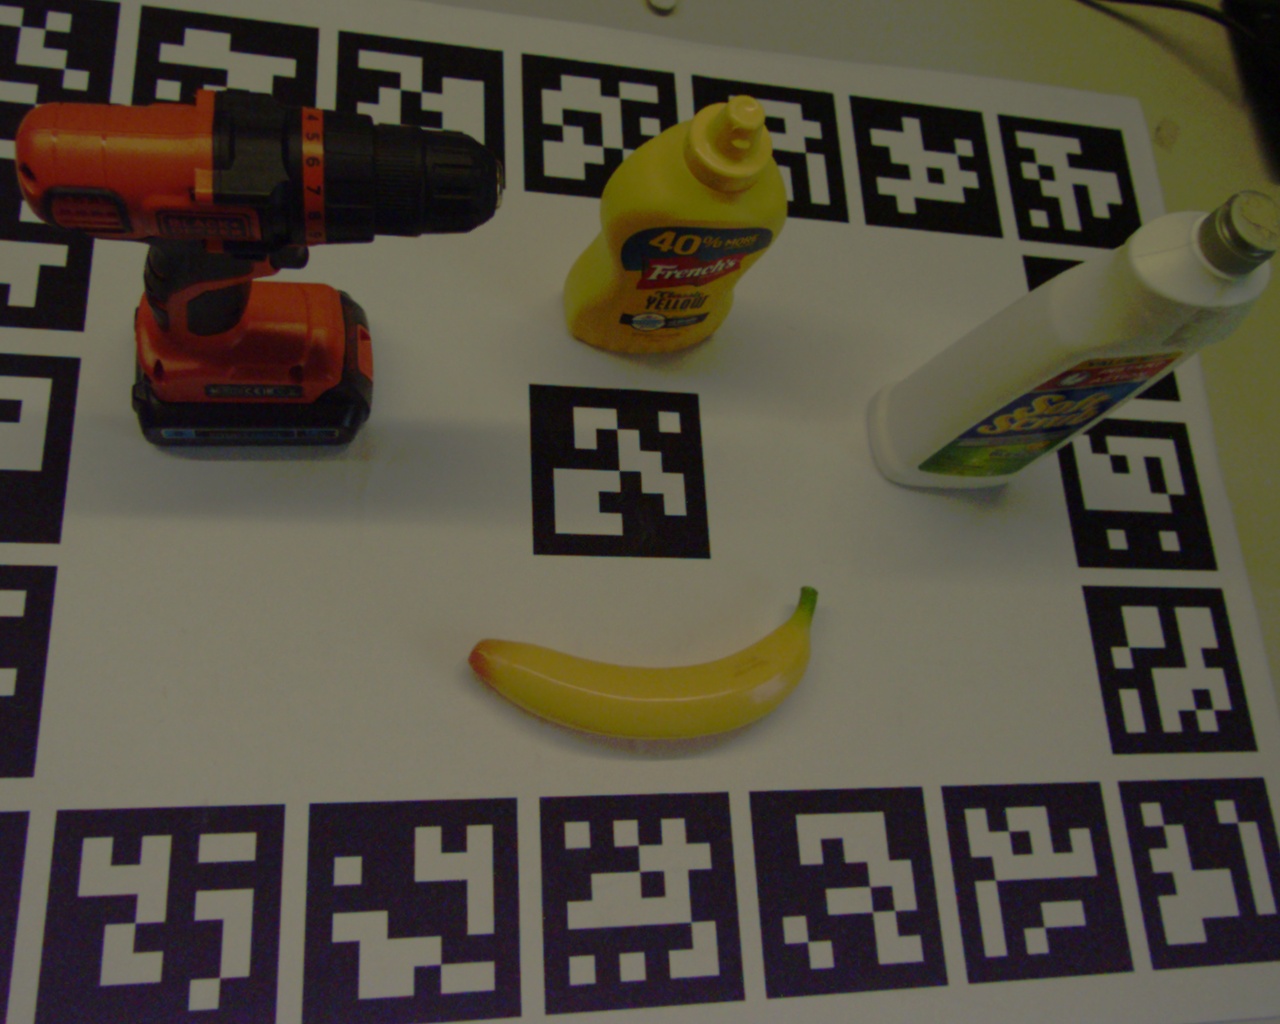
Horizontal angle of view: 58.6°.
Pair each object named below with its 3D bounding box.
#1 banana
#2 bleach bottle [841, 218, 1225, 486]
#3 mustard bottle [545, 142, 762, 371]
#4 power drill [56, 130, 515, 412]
[{"bbox_3d":[0.005,0.082,0.625,0.196,0.039,0.074,-5,76,-13],"label":"banana"},{"bbox_3d":[0.210,-0.085,0.627,0.102,0.252,0.068,10,71,-13],"label":"bleach bottle"},{"bbox_3d":[0.013,-0.141,0.629,0.095,0.192,0.058,-6,75,-19],"label":"mustard bottle"},{"bbox_3d":[-0.158,-0.109,0.541,0.183,0.187,0.057,-5,74,-13],"label":"power drill"}]
